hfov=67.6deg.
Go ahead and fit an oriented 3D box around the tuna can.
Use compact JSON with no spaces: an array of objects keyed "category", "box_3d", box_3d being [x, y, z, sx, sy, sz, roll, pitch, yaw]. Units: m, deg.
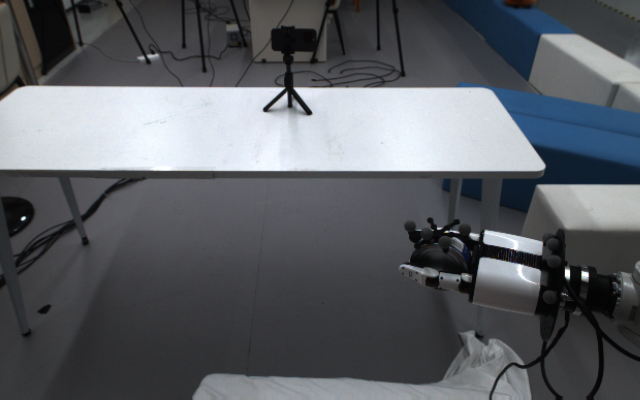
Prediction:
[{"category":"tuna can","box_3d":[0.183,0.089,0.724,0.085,0.085,0.034,17,37,20]}]
